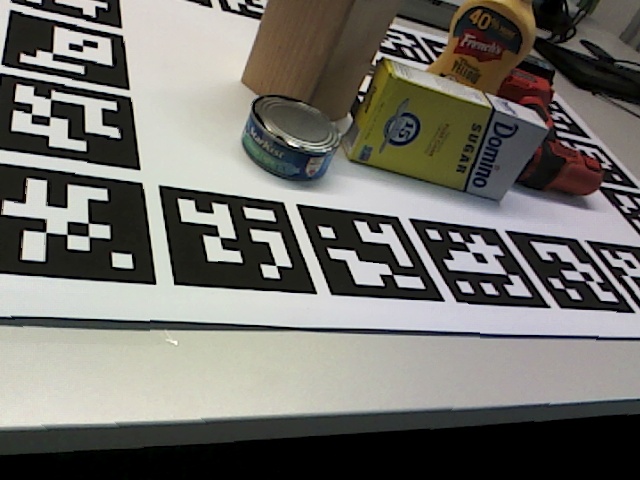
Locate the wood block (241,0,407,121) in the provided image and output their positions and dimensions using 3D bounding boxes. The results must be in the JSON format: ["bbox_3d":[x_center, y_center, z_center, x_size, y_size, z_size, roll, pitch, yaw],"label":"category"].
[{"bbox_3d":[0.011,-0.219,0.599,0.090,0.206,0.090,-23,62,-45],"label":"wood block"}]

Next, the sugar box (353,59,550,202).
[{"bbox_3d":[0.130,-0.104,0.619,0.175,0.093,0.045,15,37,-19],"label":"sugar box"}]

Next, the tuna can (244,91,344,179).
[{"bbox_3d":[-0.024,-0.094,0.555,0.085,0.034,0.086,17,40,-15],"label":"tuna can"}]

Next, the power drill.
[{"bbox_3d":[0.228,-0.145,0.748,0.184,0.057,0.187,14,47,-16],"label":"power drill"}]

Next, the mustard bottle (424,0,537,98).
[{"bbox_3d":[0.194,-0.225,0.724,0.096,0.191,0.058,38,40,11],"label":"mustard bottle"}]

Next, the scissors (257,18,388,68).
[{"bbox_3d":[0.025,-0.226,0.752,0.201,0.016,0.088,7,39,-25],"label":"scissors"}]
